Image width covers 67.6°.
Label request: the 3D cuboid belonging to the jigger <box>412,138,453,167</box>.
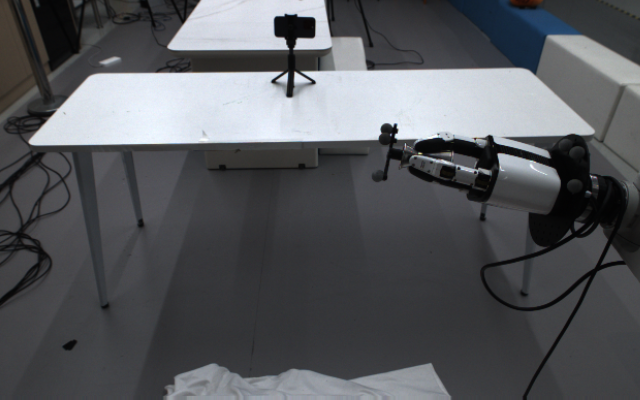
[{"bbox_3d":[0.154,-0.058,0.677,0.071,0.043,0.043,12,36,5],"label":"jigger"}]
